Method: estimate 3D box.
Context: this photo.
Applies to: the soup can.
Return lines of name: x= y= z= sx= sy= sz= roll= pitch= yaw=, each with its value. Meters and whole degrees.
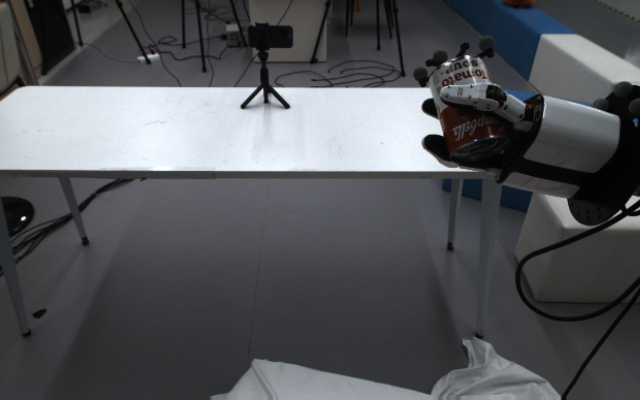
soup can: x=0.169 y=-0.103 z=0.549 sx=0.067 sy=0.067 sz=0.101 roll=-8 pitch=74 yaw=-14
